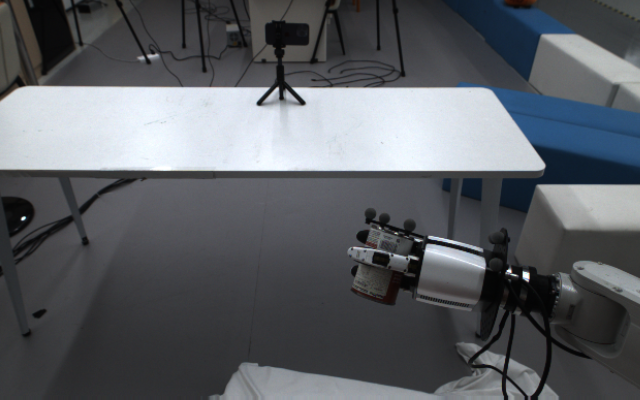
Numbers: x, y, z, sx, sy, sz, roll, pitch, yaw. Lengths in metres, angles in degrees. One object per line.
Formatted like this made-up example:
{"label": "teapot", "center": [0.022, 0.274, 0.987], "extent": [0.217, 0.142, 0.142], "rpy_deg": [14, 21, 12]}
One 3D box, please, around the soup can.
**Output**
{"label": "soup can", "center": [0.093, 0.094, 0.707], "extent": [0.067, 0.101, 0.067], "rpy_deg": [17, -1, 0]}
